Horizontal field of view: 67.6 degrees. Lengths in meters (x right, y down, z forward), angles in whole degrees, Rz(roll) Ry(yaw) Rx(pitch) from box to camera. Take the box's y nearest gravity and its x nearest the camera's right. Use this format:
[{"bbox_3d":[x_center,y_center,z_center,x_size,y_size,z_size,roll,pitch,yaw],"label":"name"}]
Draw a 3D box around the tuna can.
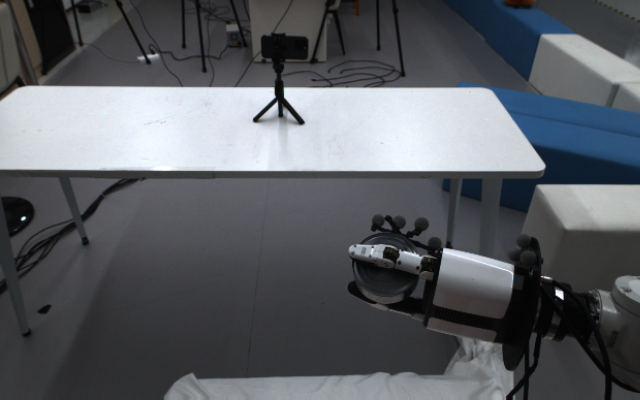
[{"bbox_3d":[0.086,0.082,0.609,0.085,0.034,0.085,-4,54,6],"label":"tuna can"}]
